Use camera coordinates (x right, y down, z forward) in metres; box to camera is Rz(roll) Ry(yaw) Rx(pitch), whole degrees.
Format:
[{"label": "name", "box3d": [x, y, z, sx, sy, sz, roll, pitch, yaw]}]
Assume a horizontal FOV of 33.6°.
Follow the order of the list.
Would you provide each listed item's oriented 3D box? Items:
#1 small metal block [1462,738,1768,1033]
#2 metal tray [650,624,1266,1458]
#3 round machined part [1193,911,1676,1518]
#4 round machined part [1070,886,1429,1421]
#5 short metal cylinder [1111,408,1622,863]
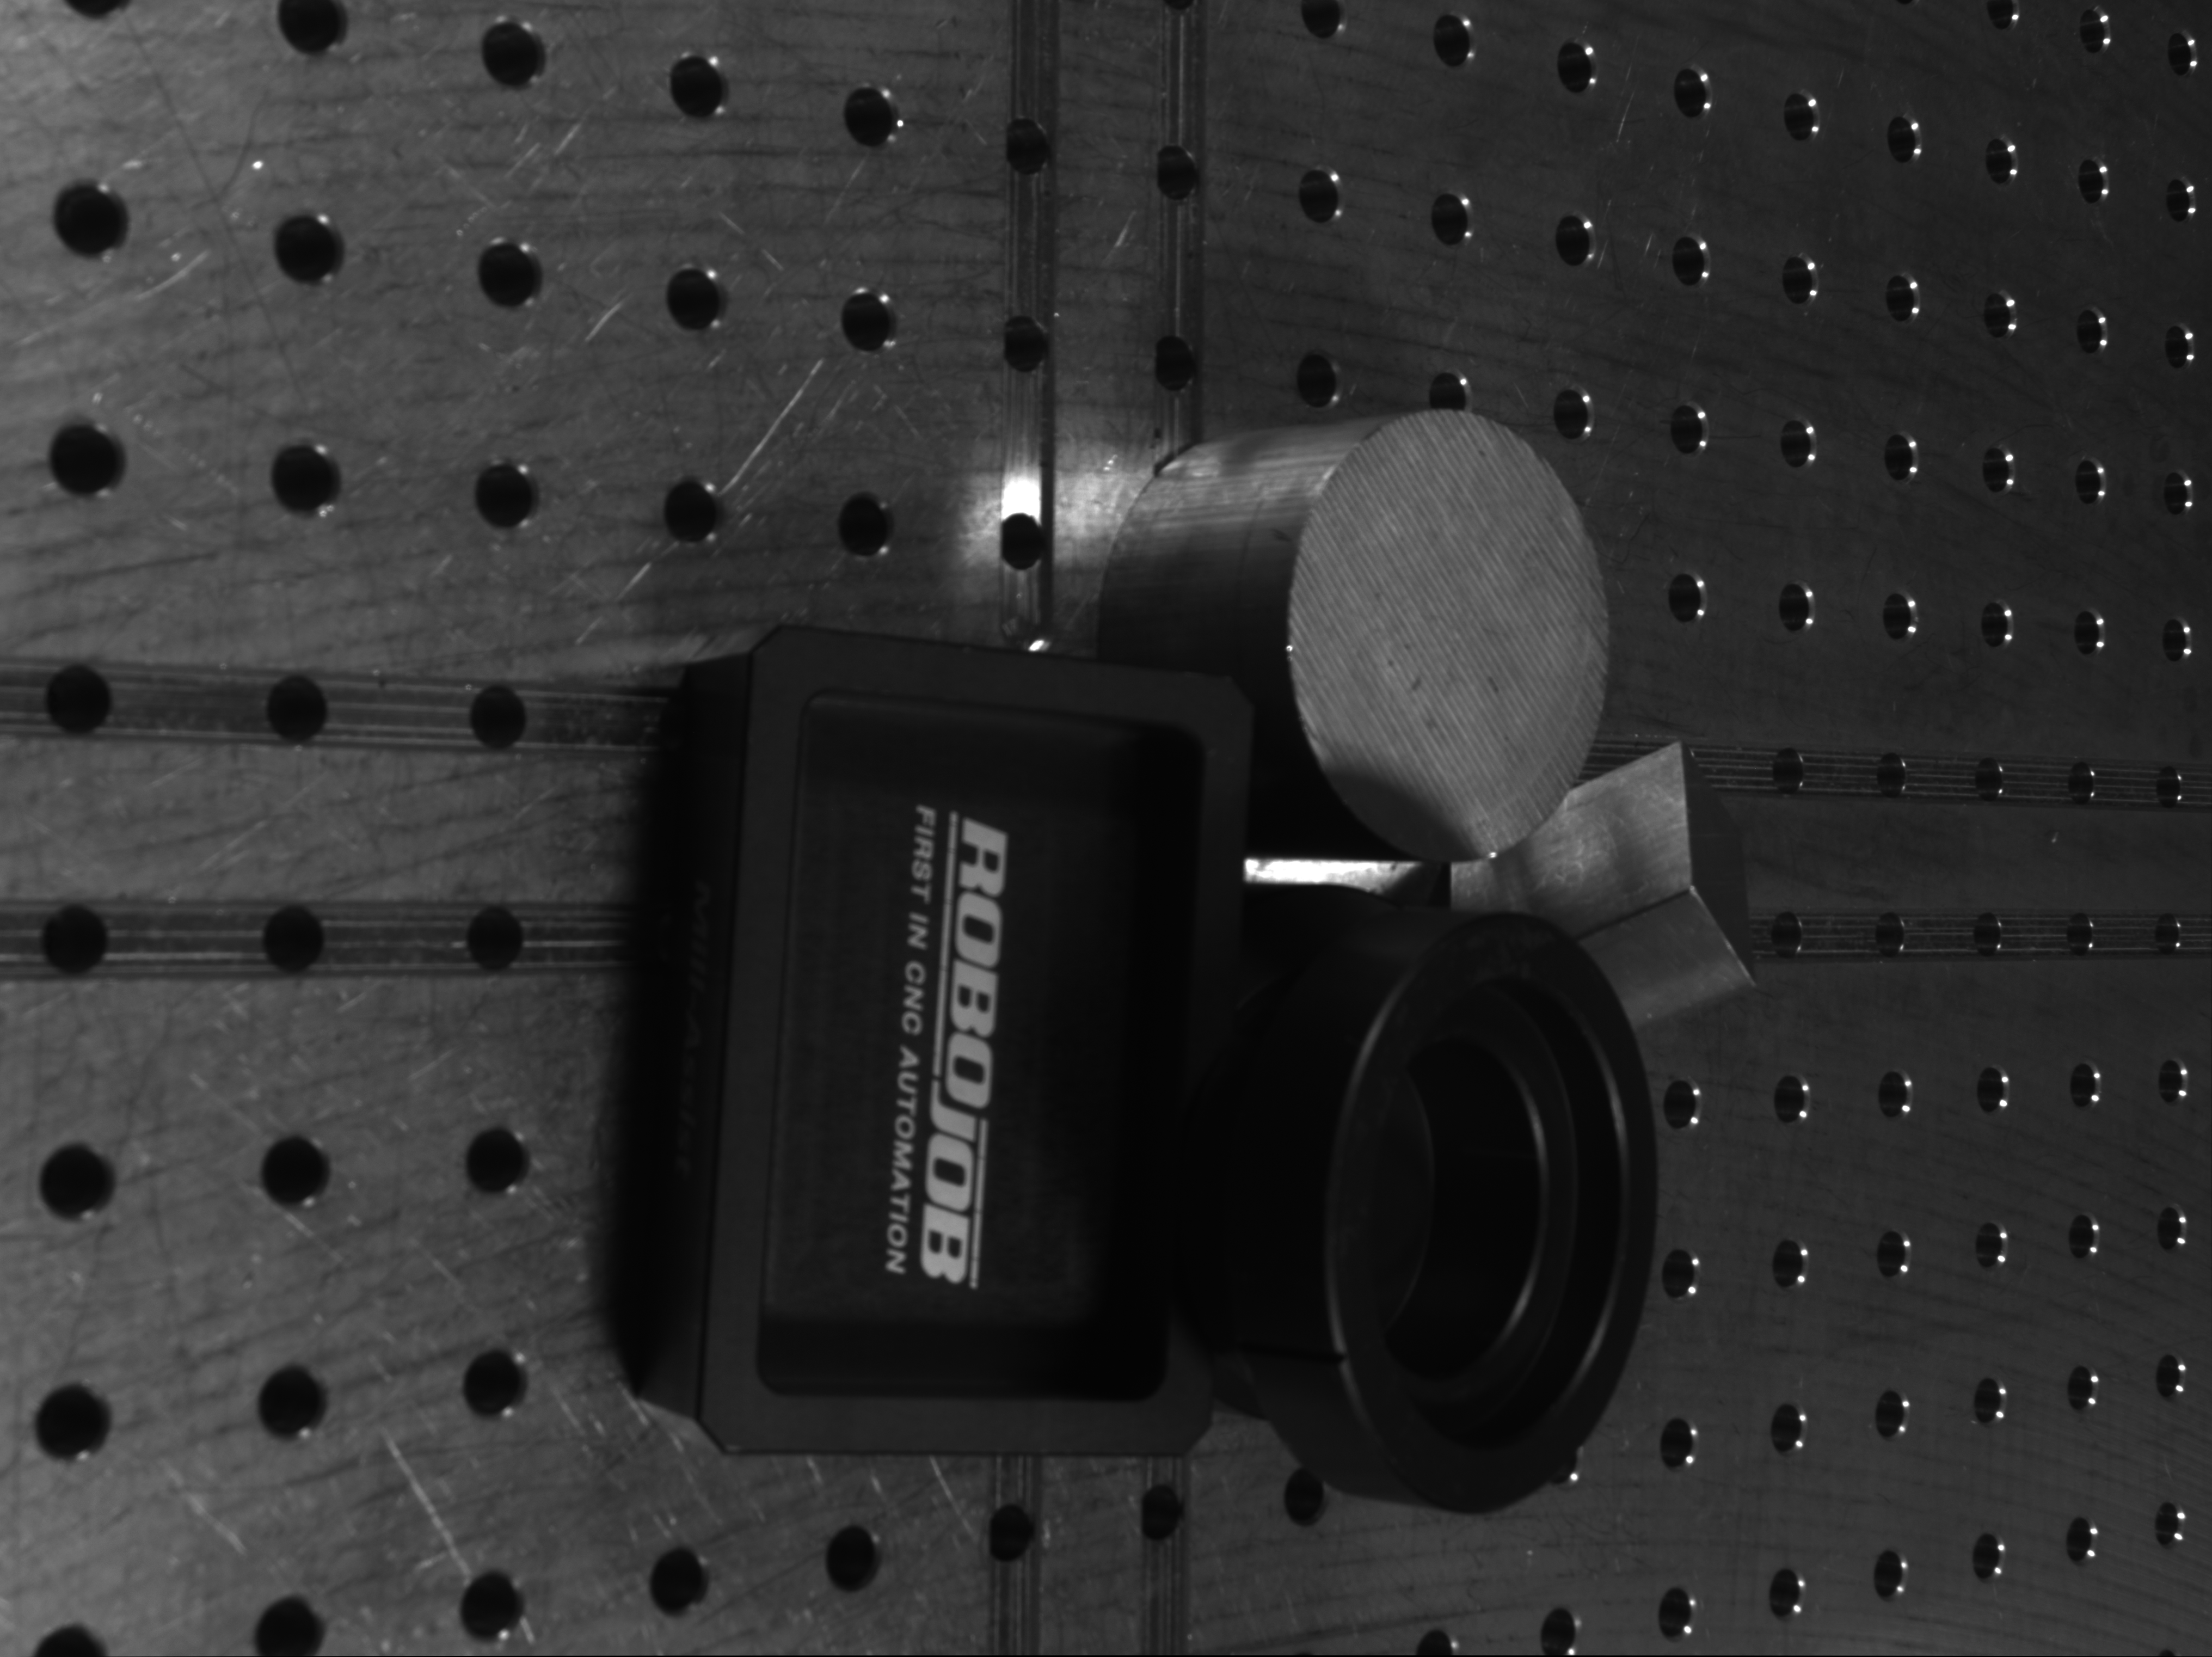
[{"label": "small metal block", "box3d": [0.095, 0.016, 0.691, 0.025, 0.050, 0.050, 54, 24, -26]}, {"label": "metal tray", "box3d": [-0.024, 0.036, 0.603, 0.090, 0.030, 0.130, 5, 86, -25]}, {"label": "round machined part", "box3d": [0.052, 0.063, 0.610, 0.098, 0.042, 0.098, -3, 94, -50]}, {"label": "round machined part", "box3d": [0.042, 0.059, 0.663, 0.098, 0.042, 0.098, 0, 90, -40]}, {"label": "short metal cylinder", "box3d": [0.048, -0.034, 0.663, 0.080, 0.050, 0.080, 0, 90, -40]}]
